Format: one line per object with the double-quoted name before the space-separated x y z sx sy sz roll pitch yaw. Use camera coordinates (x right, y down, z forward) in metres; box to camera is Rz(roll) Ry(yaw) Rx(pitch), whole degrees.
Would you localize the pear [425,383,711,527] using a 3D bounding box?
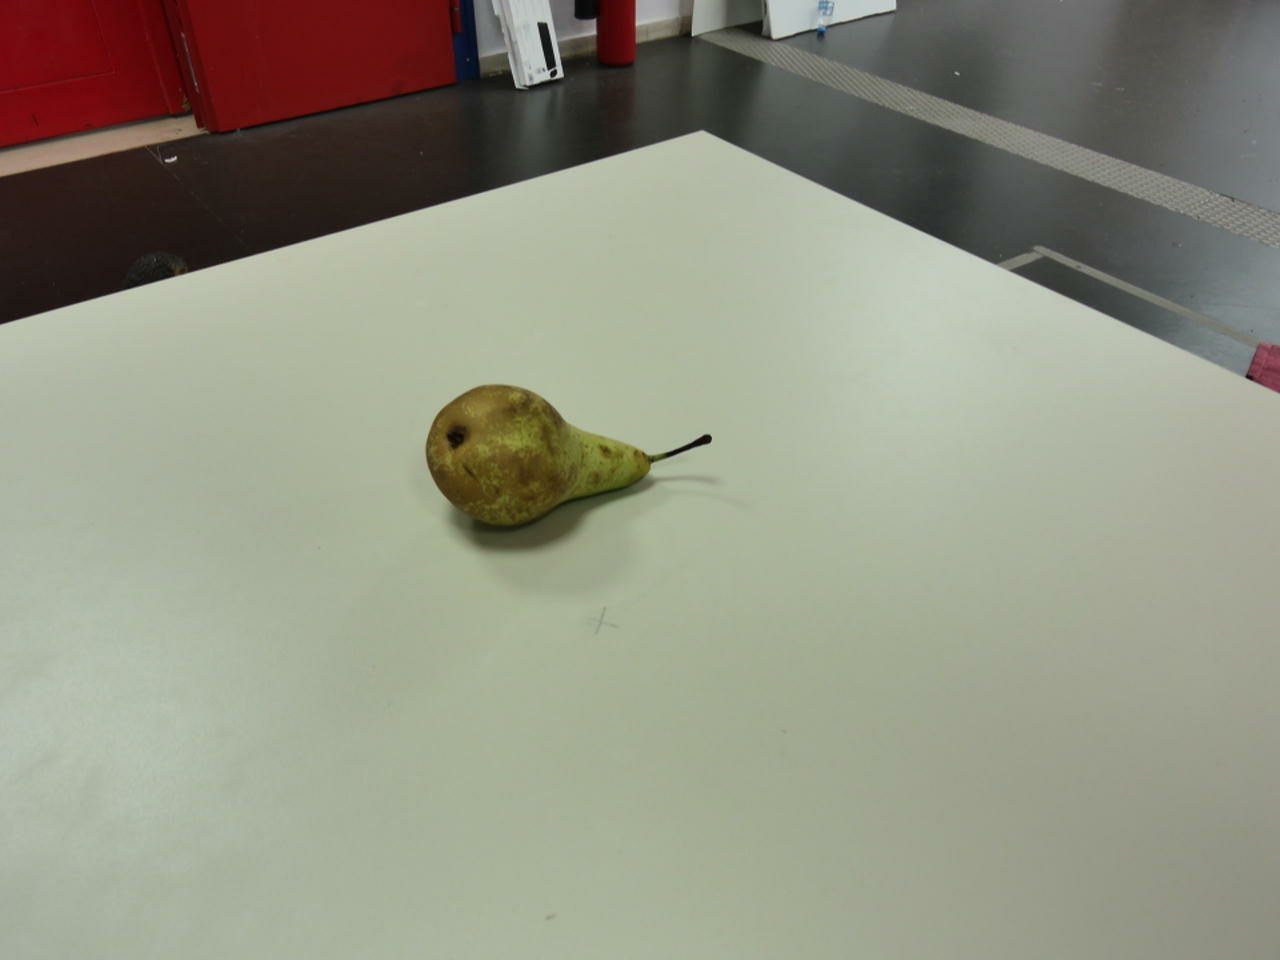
"pear" -0.041 -0.023 0.523 0.144 0.075 0.071 -20 42 -24
